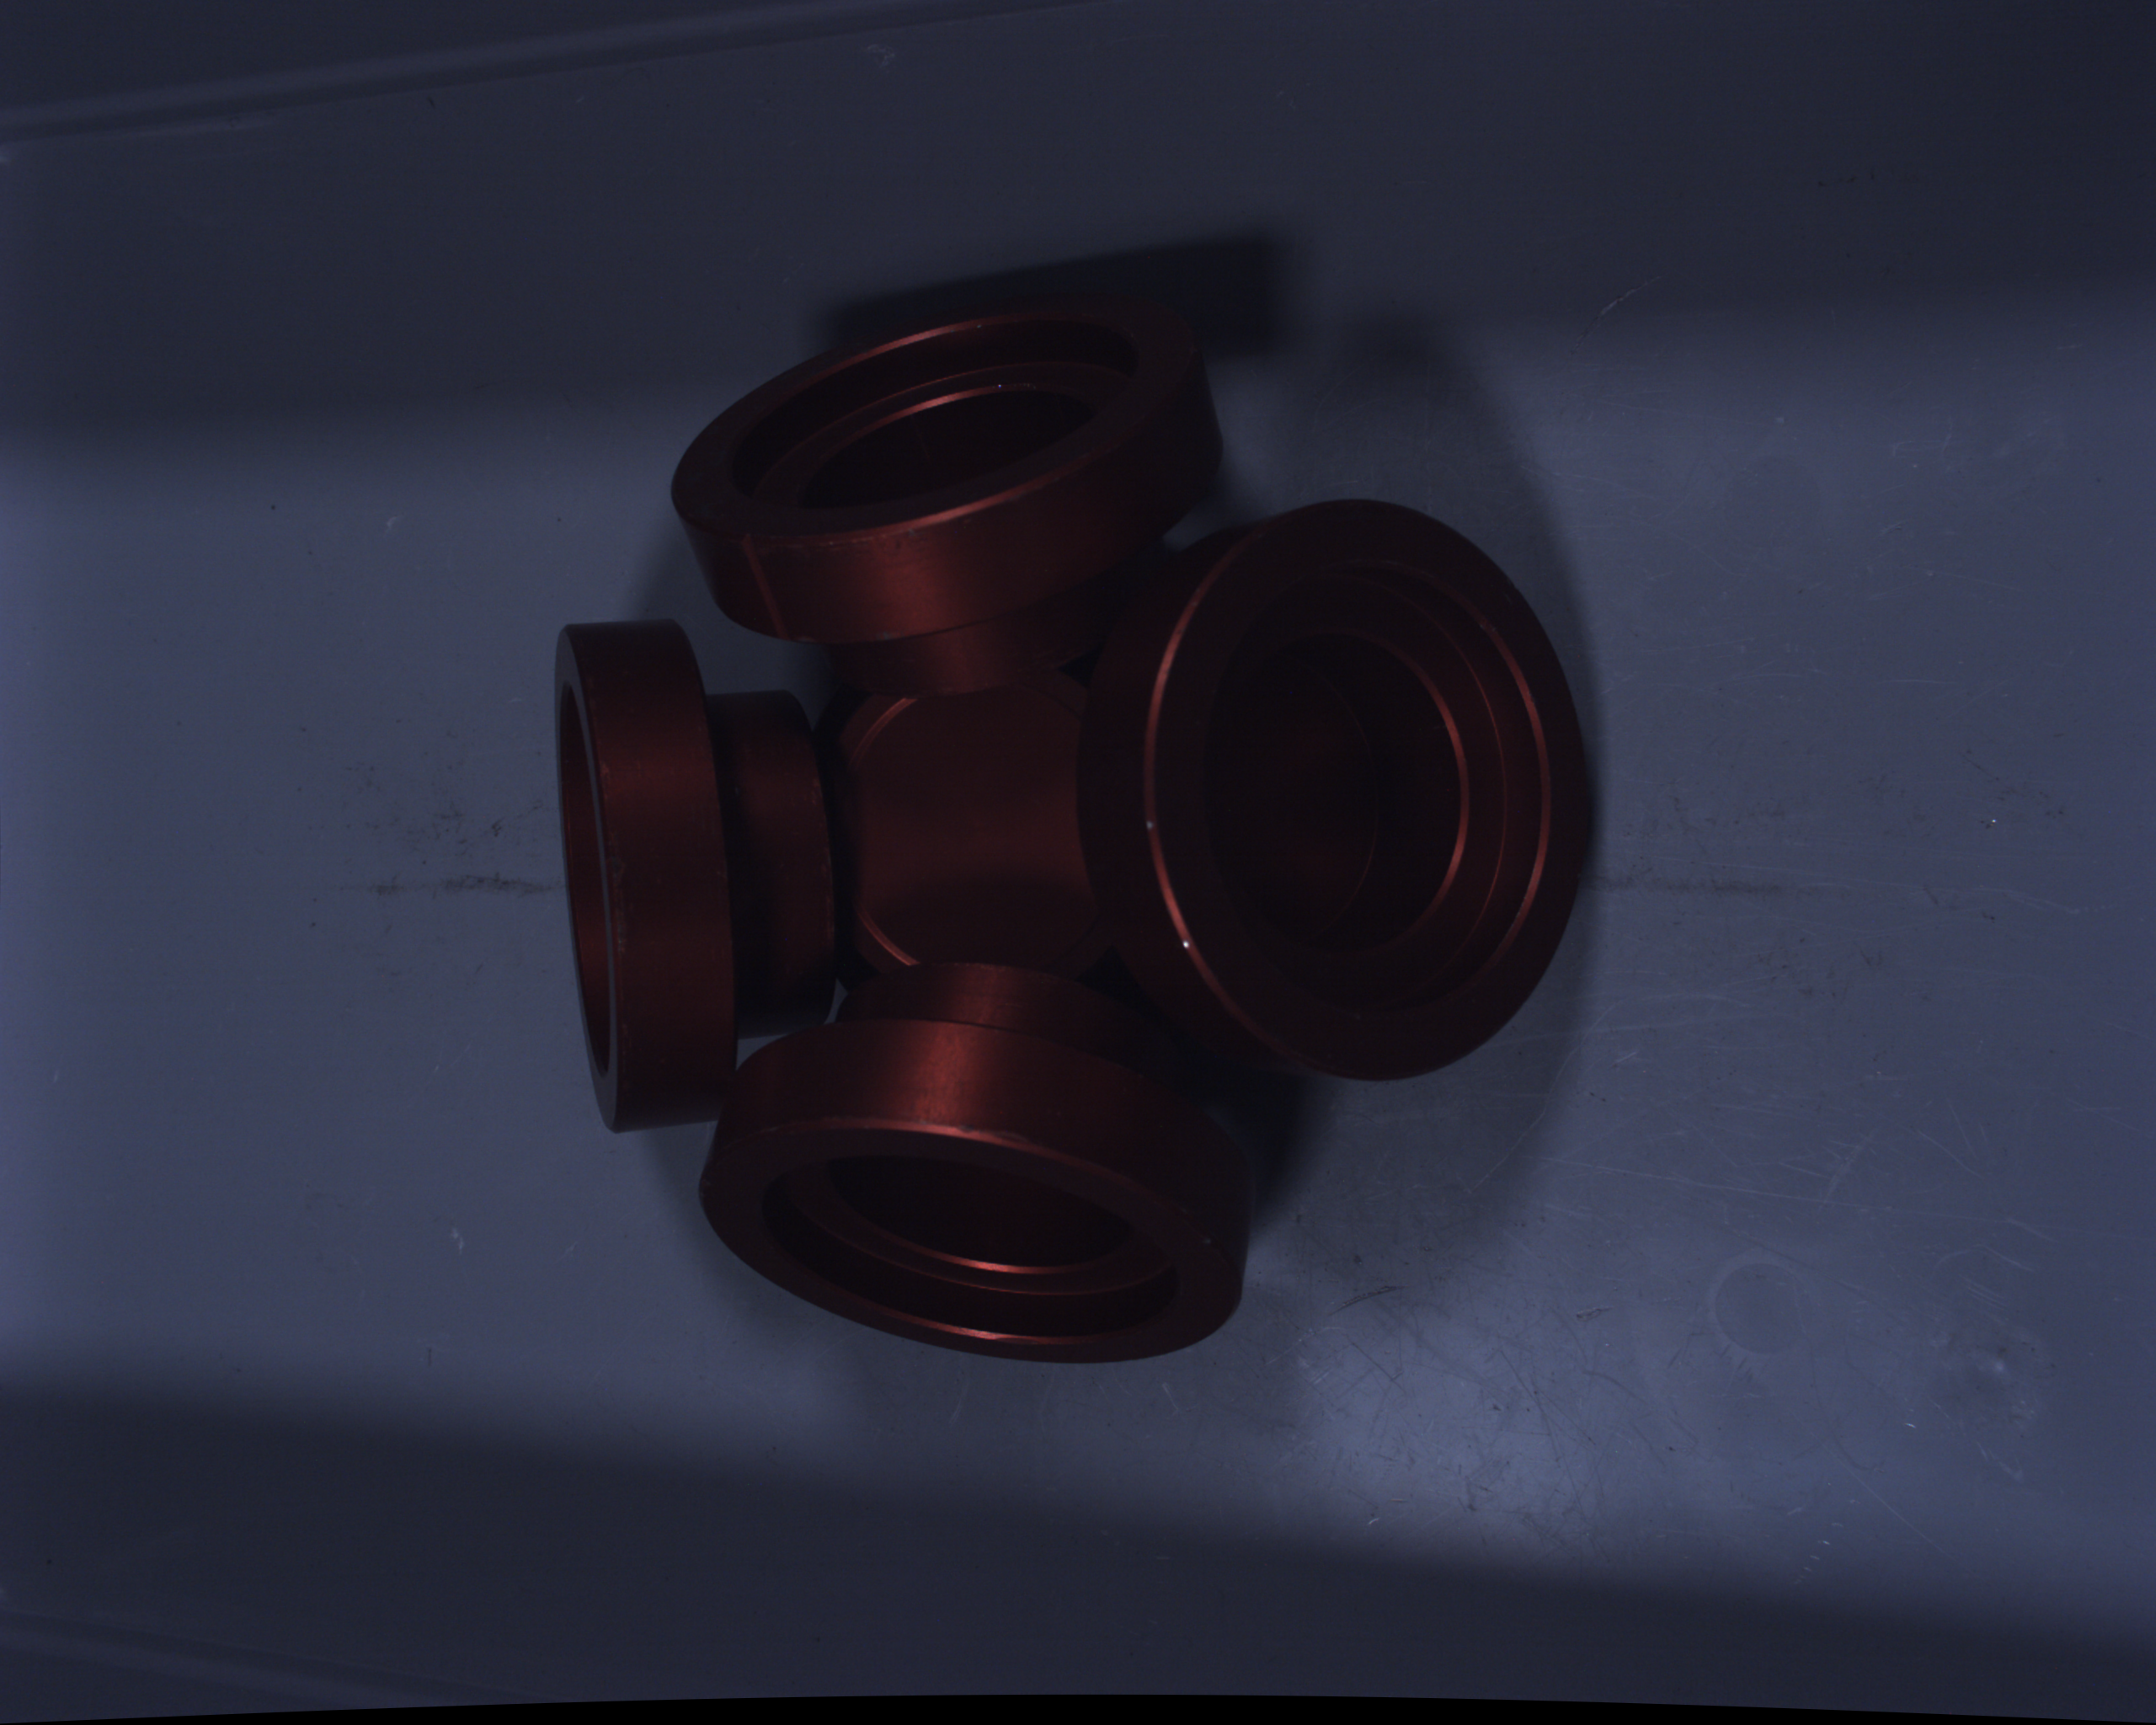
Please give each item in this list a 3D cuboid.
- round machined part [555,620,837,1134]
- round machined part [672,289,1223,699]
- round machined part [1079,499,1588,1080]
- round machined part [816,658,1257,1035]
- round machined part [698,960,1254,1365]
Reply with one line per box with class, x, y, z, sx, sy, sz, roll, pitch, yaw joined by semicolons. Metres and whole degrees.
round machined part;-0.075;0.002;0.405;0.042;0.098;0.097;-5;88;-18
round machined part;-0.021;-0.066;0.386;0.098;0.098;0.042;-4;127;19
round machined part;0.040;-0.012;0.366;0.042;0.099;0.097;-4;89;55
round machined part;-0.011;-0.006;0.402;0.098;0.042;0.097;0;90;19
round machined part;-0.016;0.054;0.384;0.098;0.098;0.042;-1;54;19
